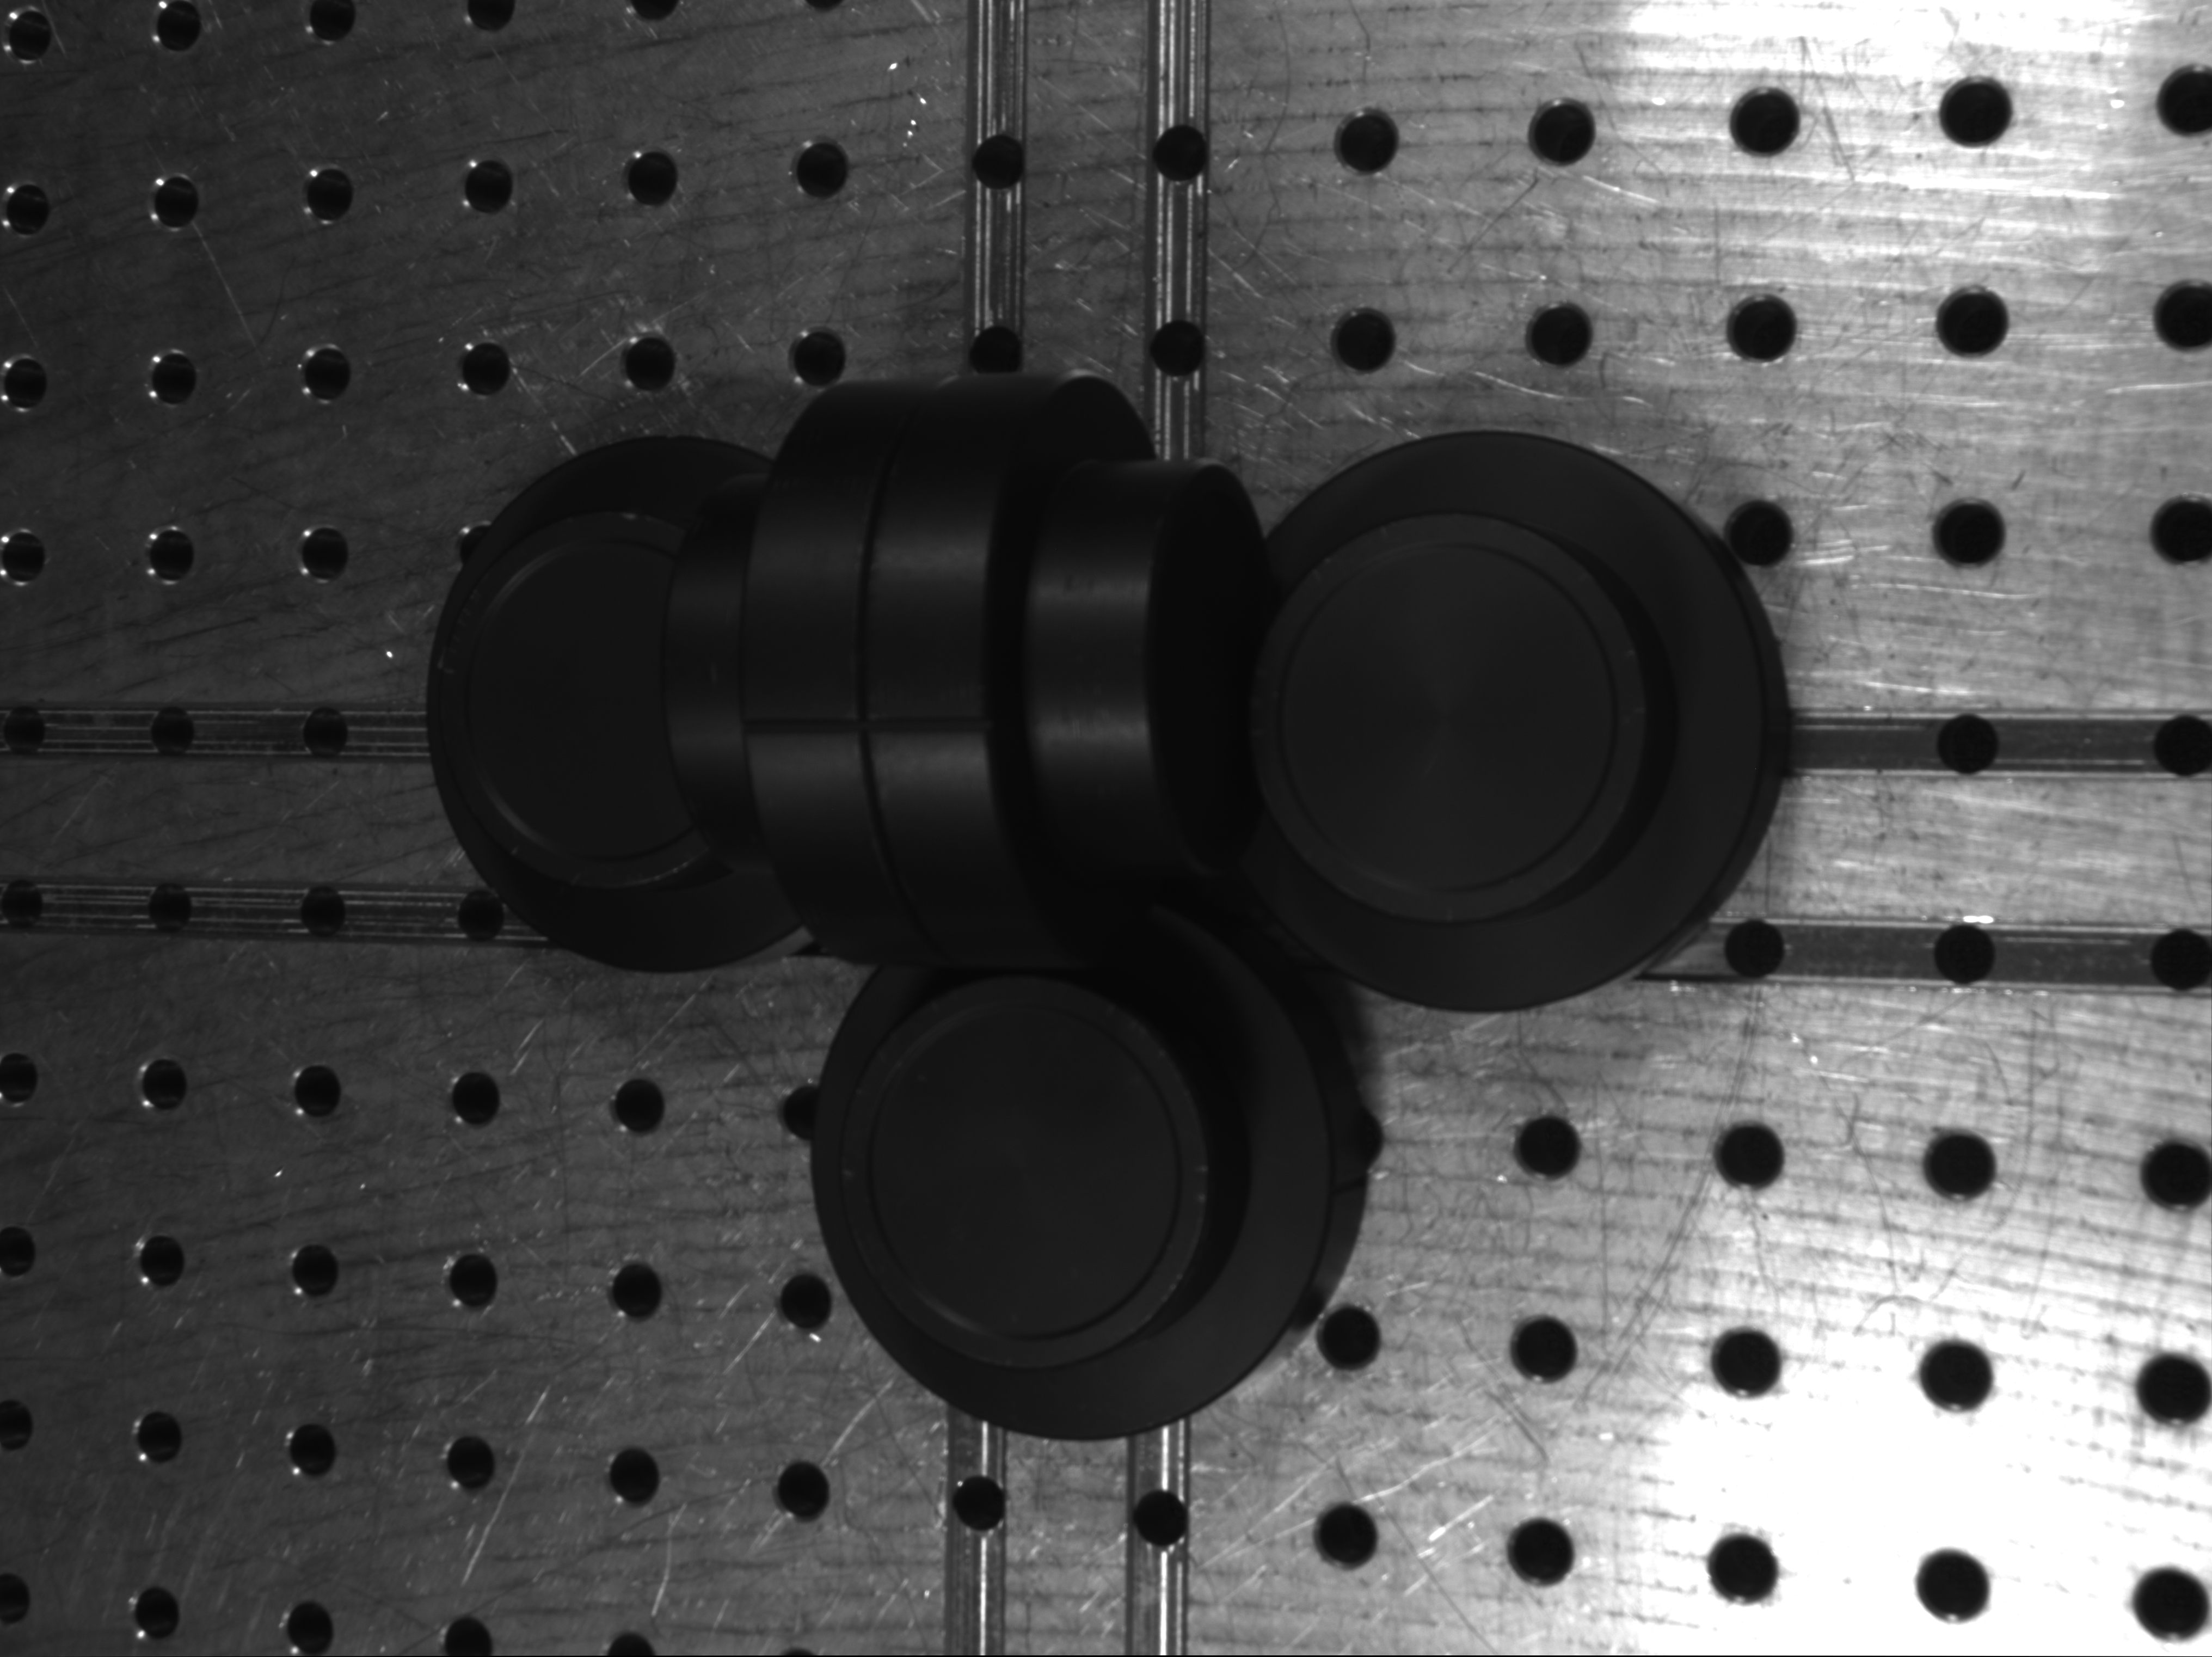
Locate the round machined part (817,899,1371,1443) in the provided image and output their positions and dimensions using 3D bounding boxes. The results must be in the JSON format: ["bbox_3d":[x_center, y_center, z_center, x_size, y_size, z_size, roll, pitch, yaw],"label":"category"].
[{"bbox_3d":[-0.006,0.059,0.640,0.098,0.042,0.098,0,90,20],"label":"round machined part"}]

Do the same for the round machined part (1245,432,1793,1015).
[{"bbox_3d":[0.063,-0.018,0.615,0.098,0.042,0.098,0,90,20],"label":"round machined part"}]

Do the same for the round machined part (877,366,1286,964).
[{"bbox_3d":[0.001,-0.027,0.602,0.042,0.098,0.098,-1,90,20],"label":"round machined part"}]

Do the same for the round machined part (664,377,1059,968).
[{"bbox_3d":[-0.040,-0.026,0.616,0.042,0.098,0.098,1,90,20],"label":"round machined part"}]

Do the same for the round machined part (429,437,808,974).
[{"bbox_3d":[-0.081,-0.022,0.666,0.098,0.042,0.098,0,90,20],"label":"round machined part"}]
